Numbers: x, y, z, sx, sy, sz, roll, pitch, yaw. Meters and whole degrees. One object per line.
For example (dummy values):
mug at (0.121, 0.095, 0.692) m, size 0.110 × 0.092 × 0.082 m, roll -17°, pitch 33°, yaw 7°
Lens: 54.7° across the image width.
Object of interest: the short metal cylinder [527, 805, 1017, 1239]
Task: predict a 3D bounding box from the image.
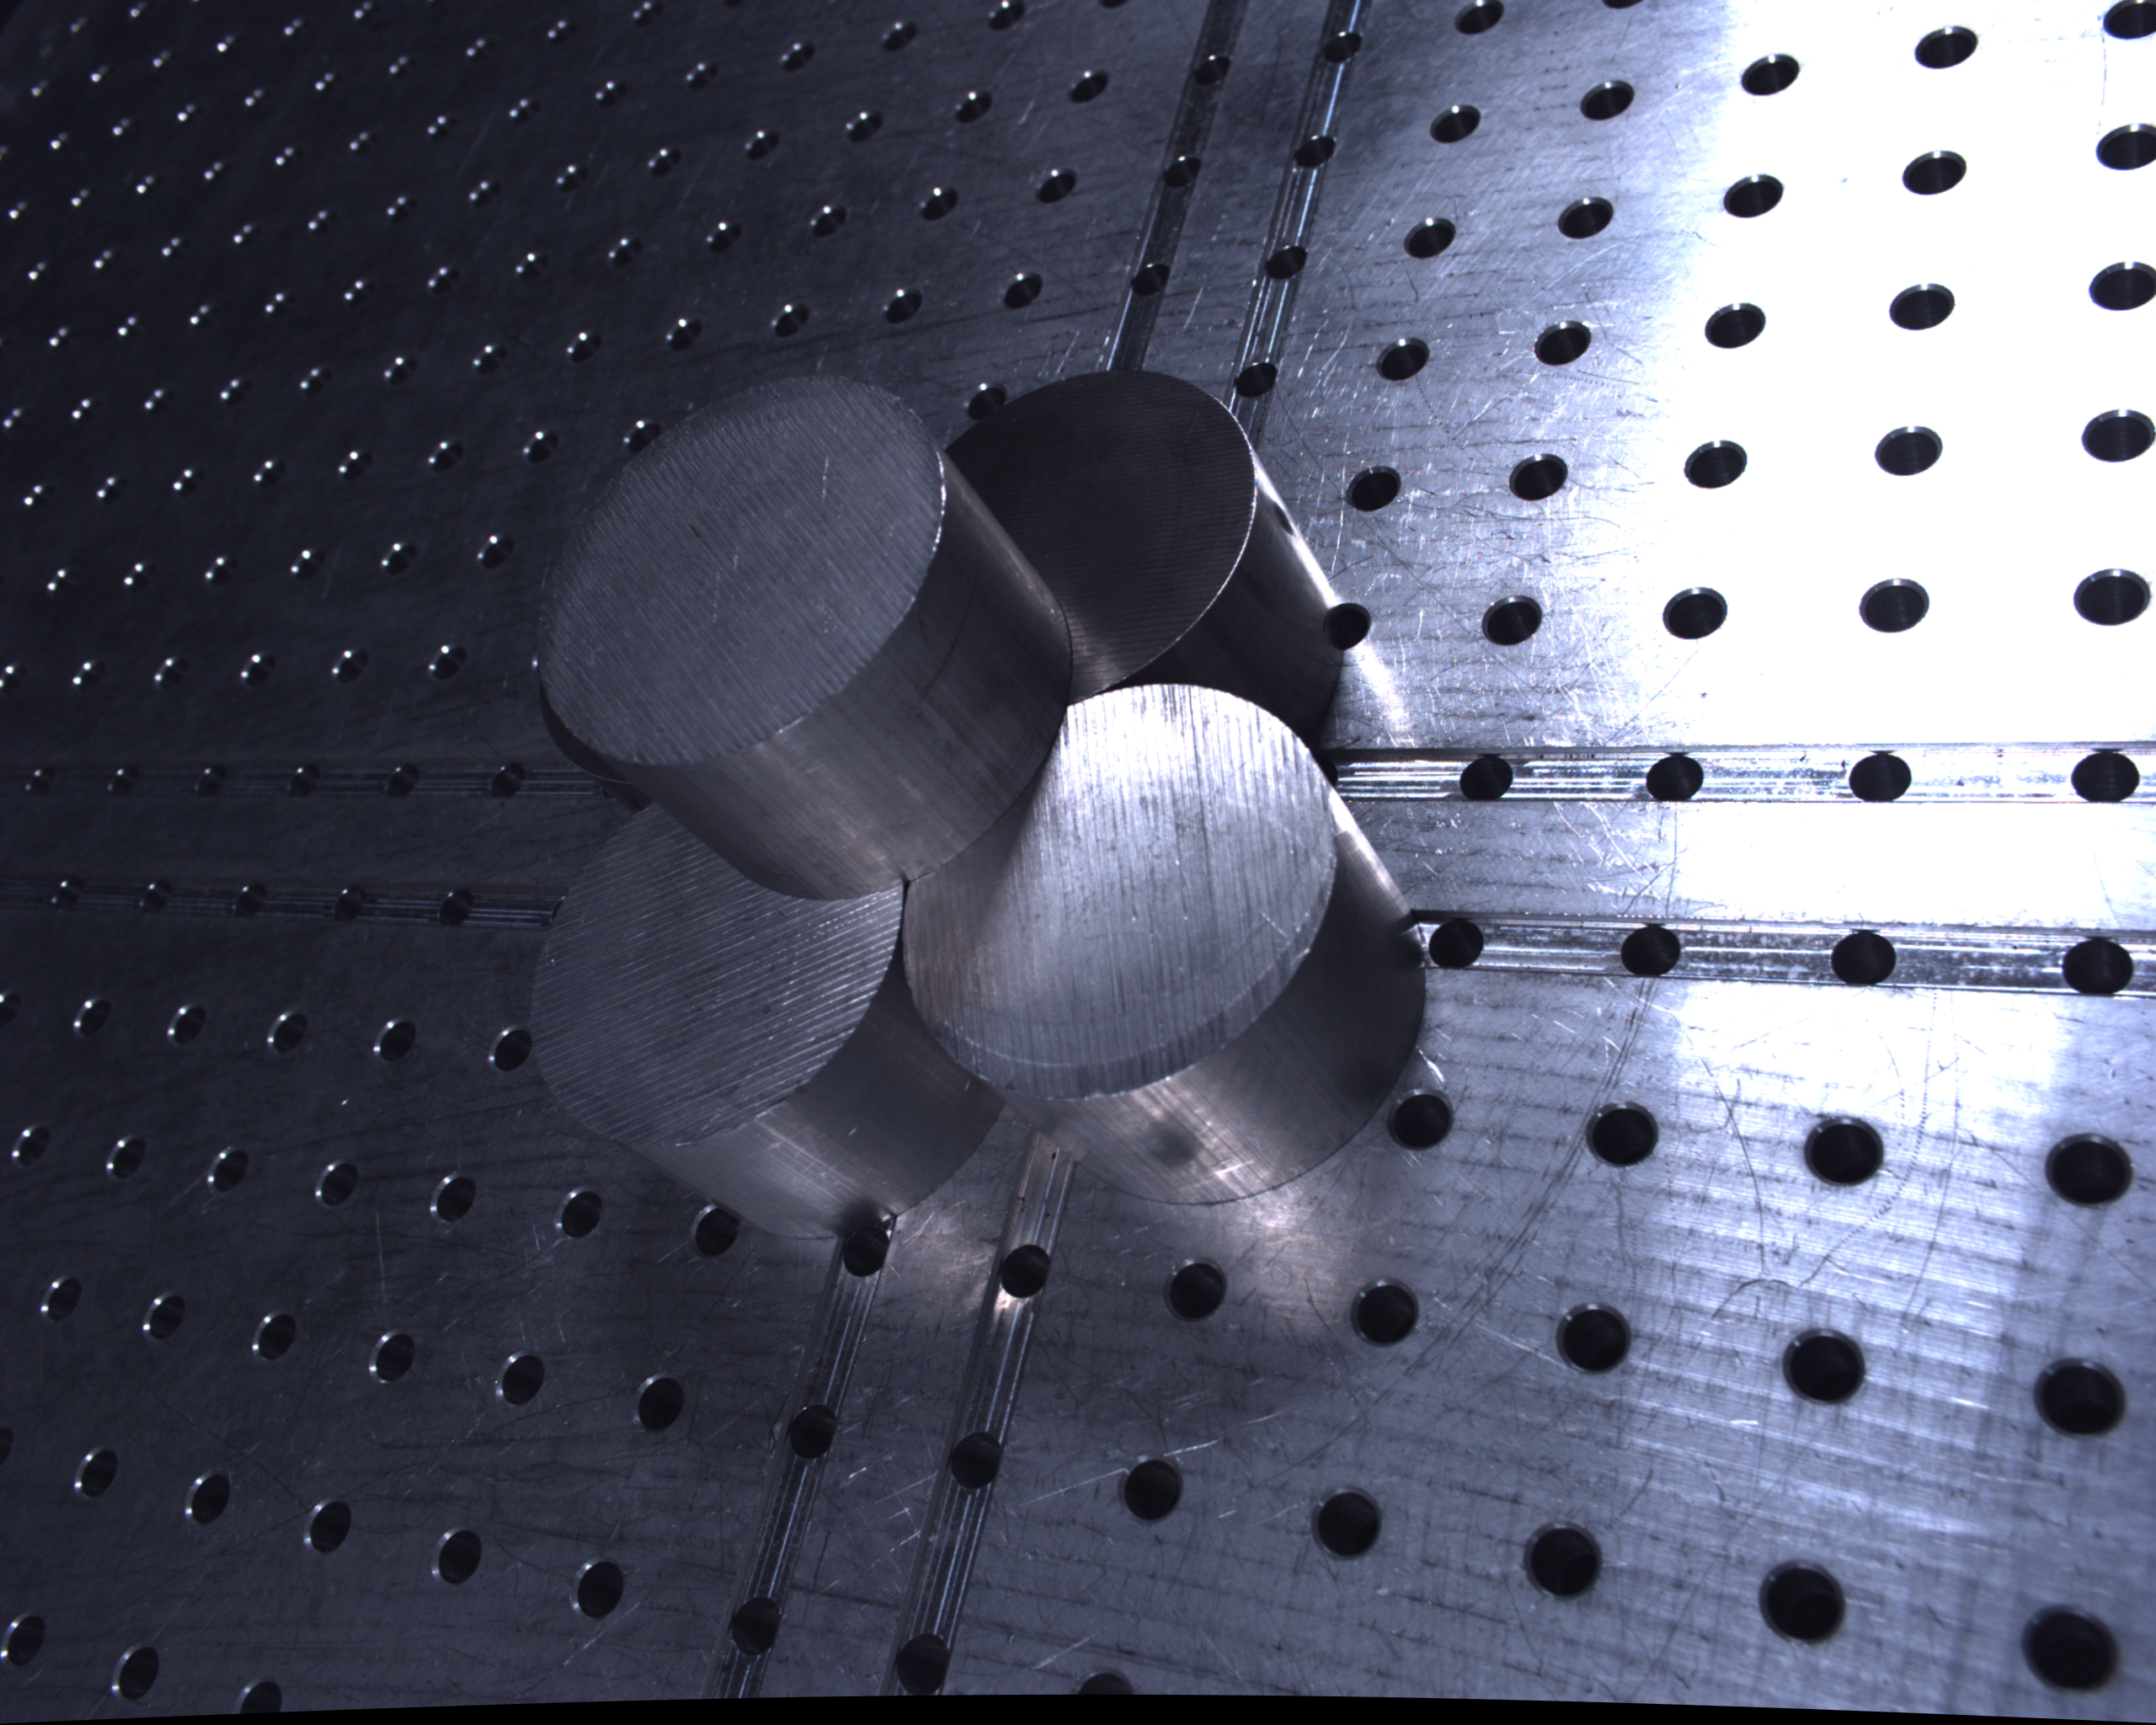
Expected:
short metal cylinder at (-0.058, 0.026, 0.404) m, size 0.080 × 0.050 × 0.080 m, roll -13°, pitch 56°, yaw 20°

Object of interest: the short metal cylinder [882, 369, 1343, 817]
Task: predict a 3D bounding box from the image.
short metal cylinder at (0.007, -0.051, 0.418) m, size 0.080 × 0.050 × 0.080 m, roll -13°, pitch 56°, yaw 20°

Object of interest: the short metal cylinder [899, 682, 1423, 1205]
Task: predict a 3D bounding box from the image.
short metal cylinder at (0.016, 0.015, 0.373) m, size 0.080 × 0.050 × 0.080 m, roll -13°, pitch 56°, yaw 20°

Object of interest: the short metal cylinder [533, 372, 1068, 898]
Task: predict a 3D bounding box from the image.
short metal cylinder at (-0.049, -0.040, 0.374) m, size 0.080 × 0.050 × 0.080 m, roll -12°, pitch 58°, yaw 20°

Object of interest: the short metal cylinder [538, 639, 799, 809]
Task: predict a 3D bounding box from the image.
short metal cylinder at (-0.067, -0.039, 0.449) m, size 0.080 × 0.050 × 0.080 m, roll -13°, pitch 56°, yaw 20°
